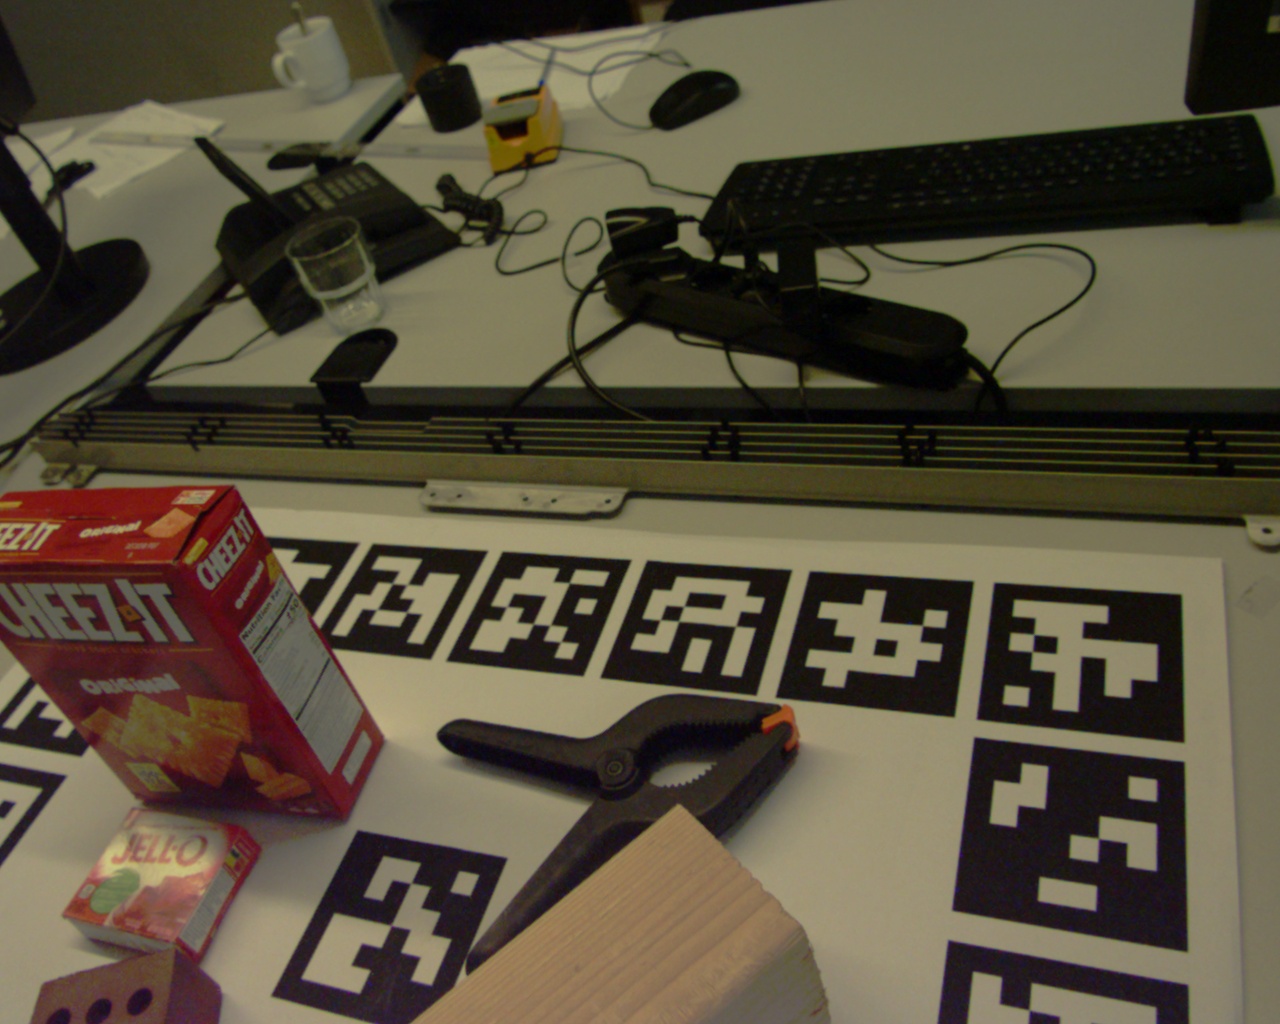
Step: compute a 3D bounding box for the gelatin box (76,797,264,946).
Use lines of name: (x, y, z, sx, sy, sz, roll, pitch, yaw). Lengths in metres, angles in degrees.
gelatin box: (-0.287, 0.217, 0.697, 0.090, 0.030, 0.073, 2, 49, 23)

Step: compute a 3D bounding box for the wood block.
wood block: (-0.039, 0.245, 0.529, 0.205, 0.090, 0.091, -34, 41, -18)

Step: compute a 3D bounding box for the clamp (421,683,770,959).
clamp: (-0.023, 0.151, 0.653, 0.203, 0.036, 0.167, -20, 43, 2)

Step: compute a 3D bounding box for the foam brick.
foam brick: (-0.278, 0.269, 0.621, 0.078, 0.051, 0.053, -15, 44, 6)

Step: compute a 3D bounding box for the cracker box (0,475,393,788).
cracker box: (-0.269, 0.078, 0.688, 0.166, 0.212, 0.072, 1, 45, 20)
